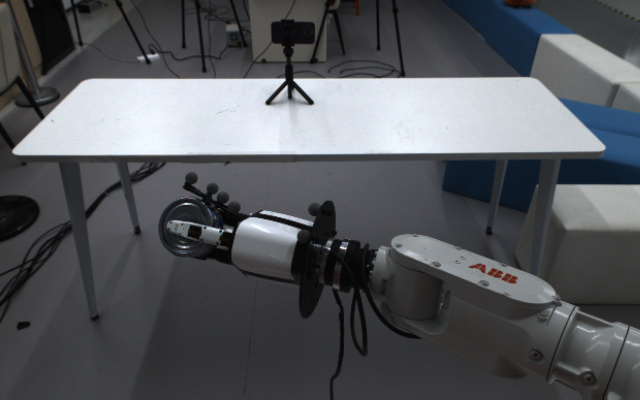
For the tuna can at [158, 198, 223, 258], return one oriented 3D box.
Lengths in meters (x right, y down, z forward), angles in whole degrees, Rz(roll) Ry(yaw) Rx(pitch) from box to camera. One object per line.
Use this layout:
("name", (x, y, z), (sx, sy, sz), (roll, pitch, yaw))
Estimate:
("tuna can", (-0.182, 0.039, 0.683), (0.085, 0.085, 0.034), (12, -4, 14))
